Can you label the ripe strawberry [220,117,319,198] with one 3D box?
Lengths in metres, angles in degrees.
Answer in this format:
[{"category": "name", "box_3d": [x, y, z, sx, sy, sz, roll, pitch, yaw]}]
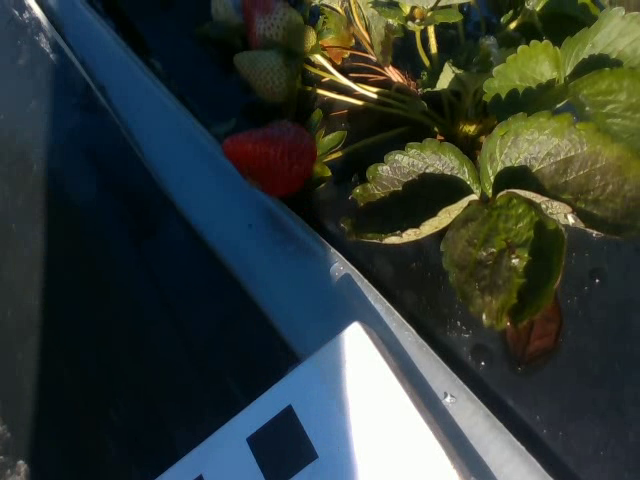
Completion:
[{"category": "ripe strawberry", "box_3d": [-0.023, -0.035, 0.240, 0.045, 0.038, 0.036, 15, 32, -50]}]
